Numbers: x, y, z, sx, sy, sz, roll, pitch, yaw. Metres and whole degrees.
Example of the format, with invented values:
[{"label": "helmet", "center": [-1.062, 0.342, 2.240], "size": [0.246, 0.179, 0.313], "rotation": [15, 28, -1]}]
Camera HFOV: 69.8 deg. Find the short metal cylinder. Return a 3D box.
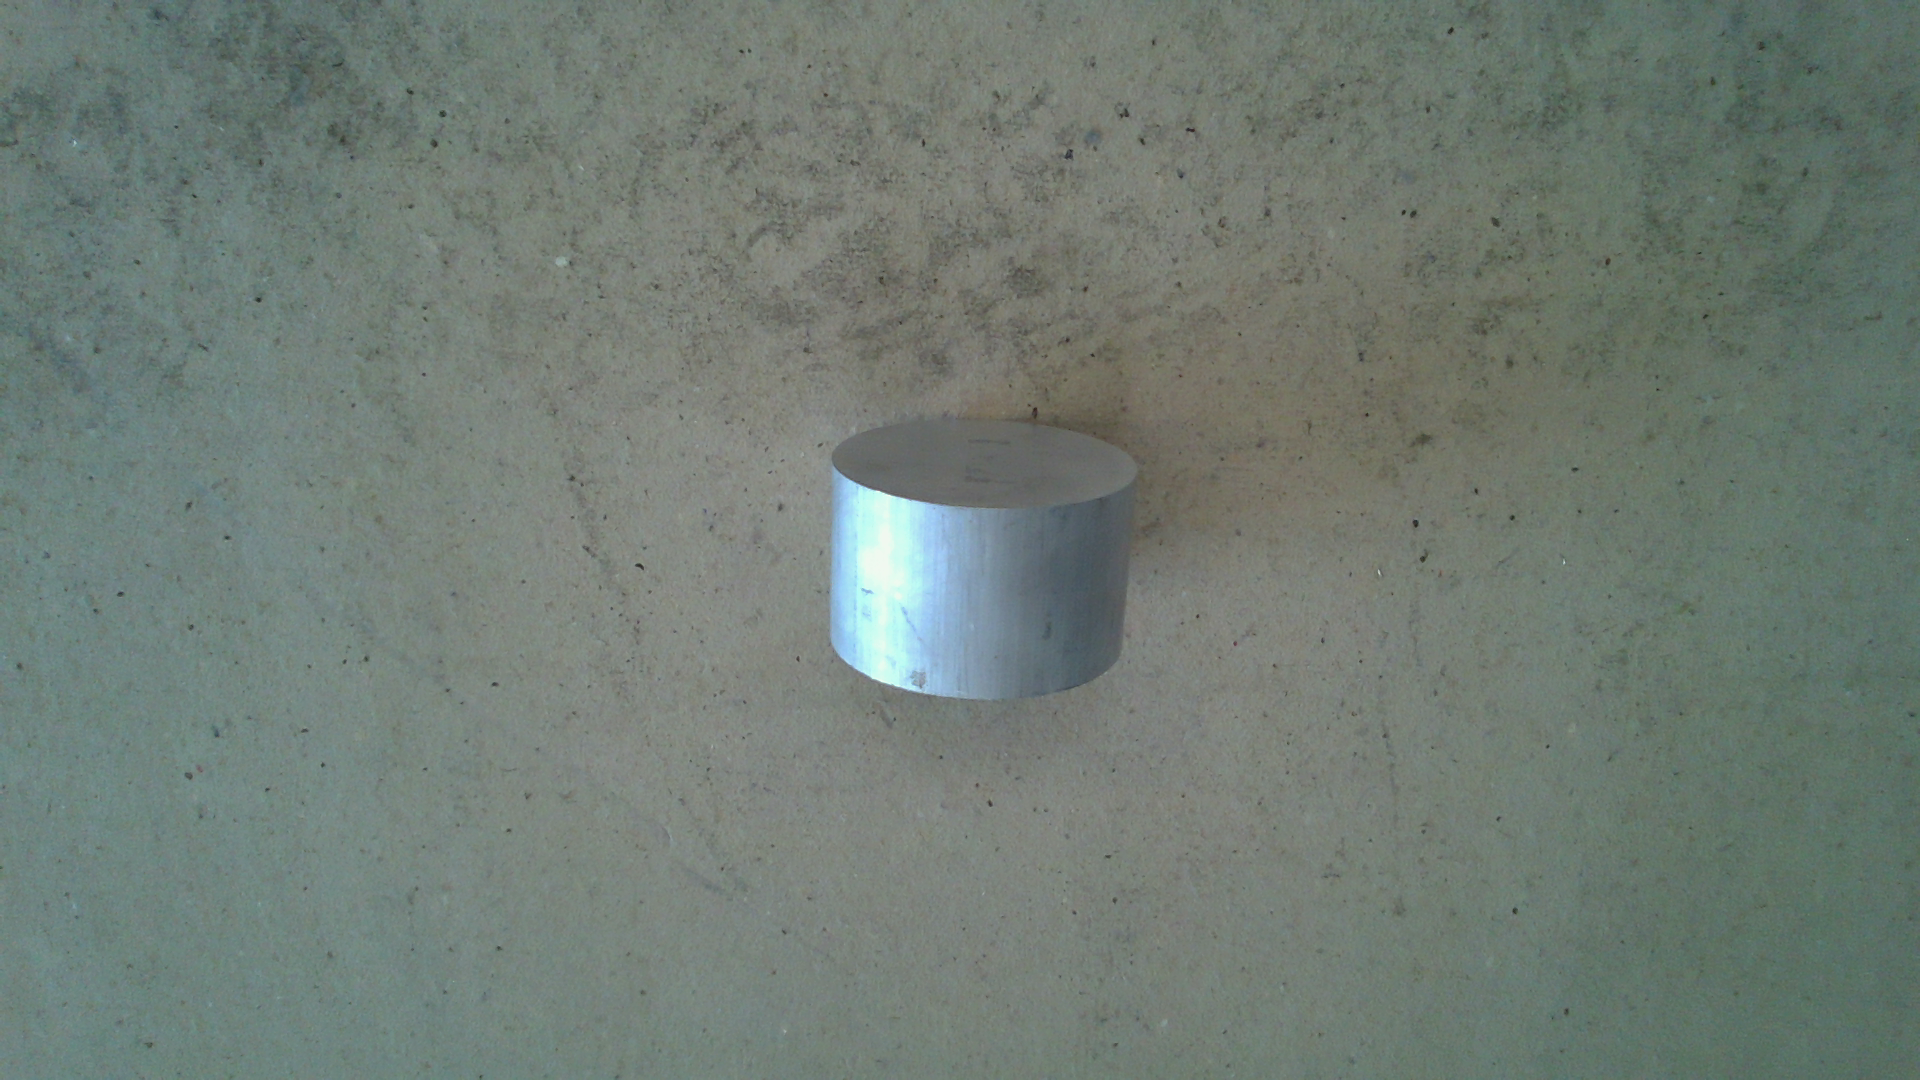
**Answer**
[{"label": "short metal cylinder", "center": [0.005, 0.002, 0.366], "size": [0.080, 0.080, 0.050], "rotation": [2, 110, -1]}]
